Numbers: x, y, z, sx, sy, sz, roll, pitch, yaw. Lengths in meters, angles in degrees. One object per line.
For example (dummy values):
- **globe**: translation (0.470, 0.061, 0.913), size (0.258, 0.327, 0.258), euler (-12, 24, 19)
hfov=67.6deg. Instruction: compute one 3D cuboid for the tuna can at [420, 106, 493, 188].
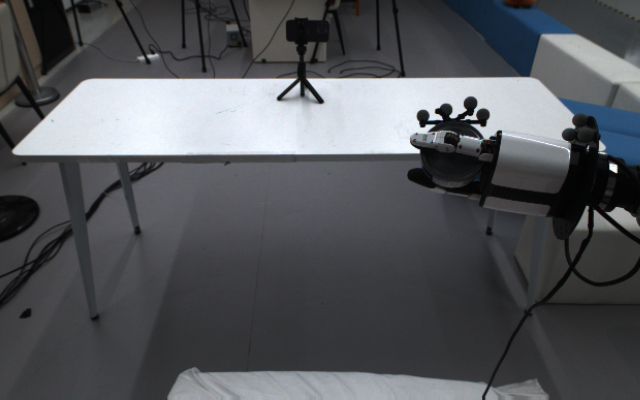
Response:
- **tuna can**: translation (0.178, -0.062, 0.653), size (0.085, 0.034, 0.085), euler (-3, 73, 11)
